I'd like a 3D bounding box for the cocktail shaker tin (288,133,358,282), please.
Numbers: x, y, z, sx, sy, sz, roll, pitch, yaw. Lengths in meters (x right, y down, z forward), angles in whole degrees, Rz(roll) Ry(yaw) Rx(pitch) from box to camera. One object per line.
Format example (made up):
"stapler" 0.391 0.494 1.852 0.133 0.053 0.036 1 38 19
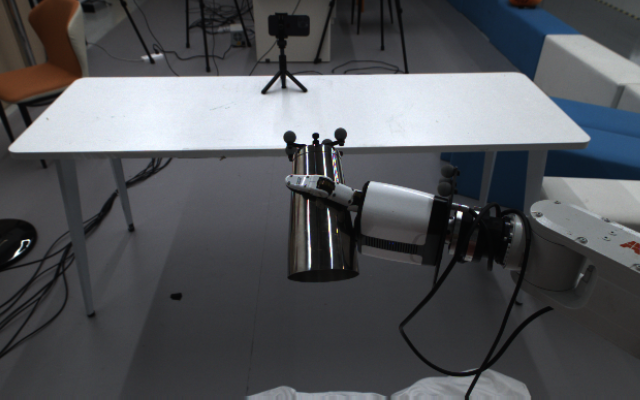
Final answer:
"cocktail shaker tin" 0.000 0.017 0.641 0.093 0.093 0.170 -2 71 -6
